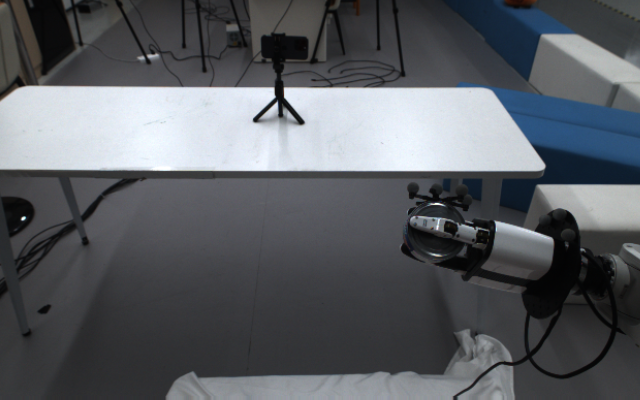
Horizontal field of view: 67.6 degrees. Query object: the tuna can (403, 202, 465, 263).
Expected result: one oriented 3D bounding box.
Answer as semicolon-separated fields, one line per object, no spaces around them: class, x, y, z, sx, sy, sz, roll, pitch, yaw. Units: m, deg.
tuna can;0.164;0.042;0.688;0.085;0.034;0.085;1;72;-4
